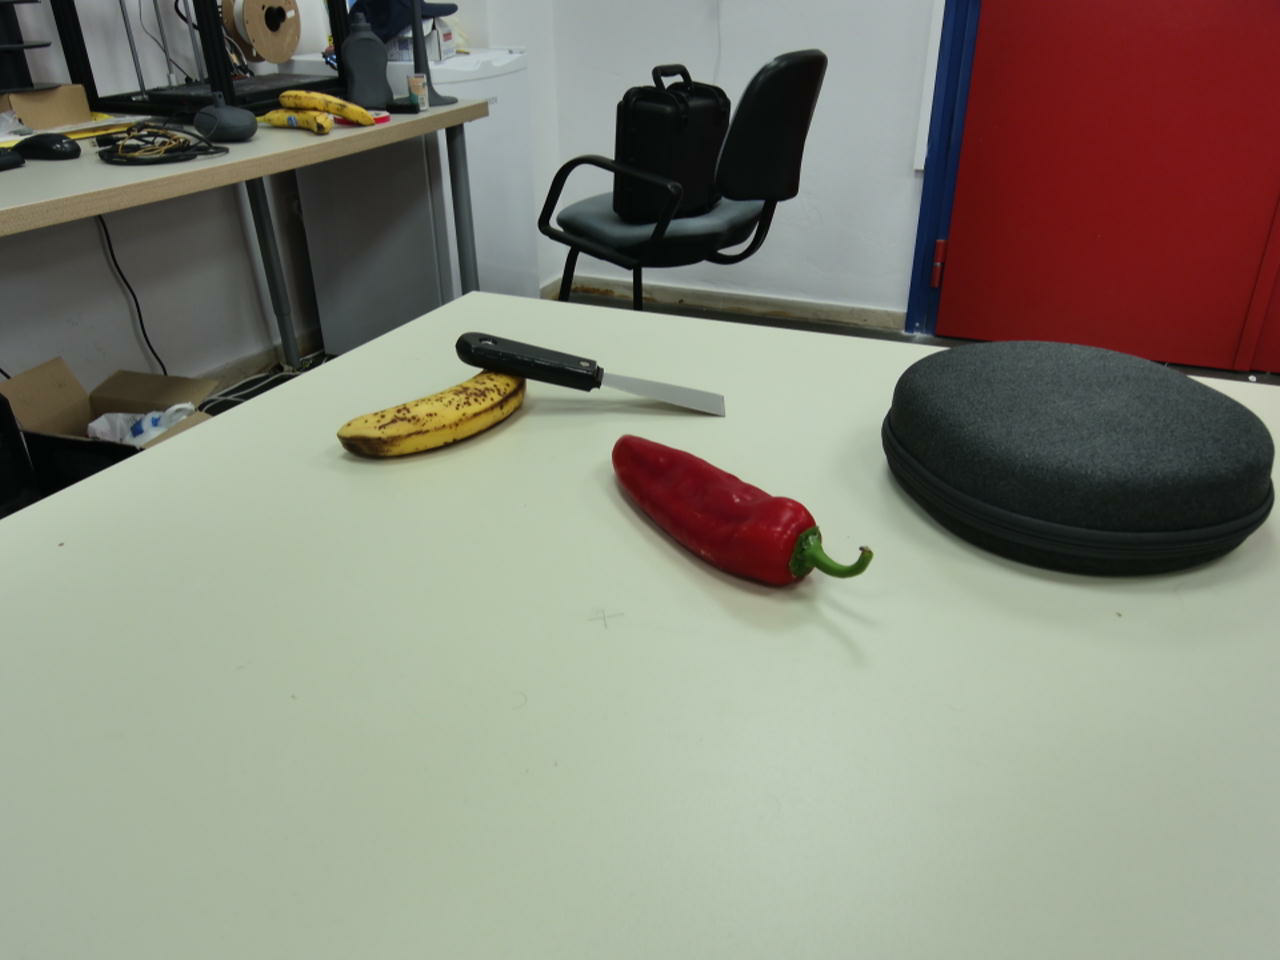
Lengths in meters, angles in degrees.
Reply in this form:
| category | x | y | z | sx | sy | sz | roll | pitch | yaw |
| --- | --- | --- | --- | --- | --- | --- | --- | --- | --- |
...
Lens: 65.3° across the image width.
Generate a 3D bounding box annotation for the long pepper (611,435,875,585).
| category | x | y | z | sx | sy | sz | roll | pitch | yaw |
| --- | --- | --- | --- | --- | --- | --- | --- | --- | --- |
| long pepper | 0.040 | 0.013 | 0.539 | 0.050 | 0.043 | 0.211 | -16 | 29 | -30 |
